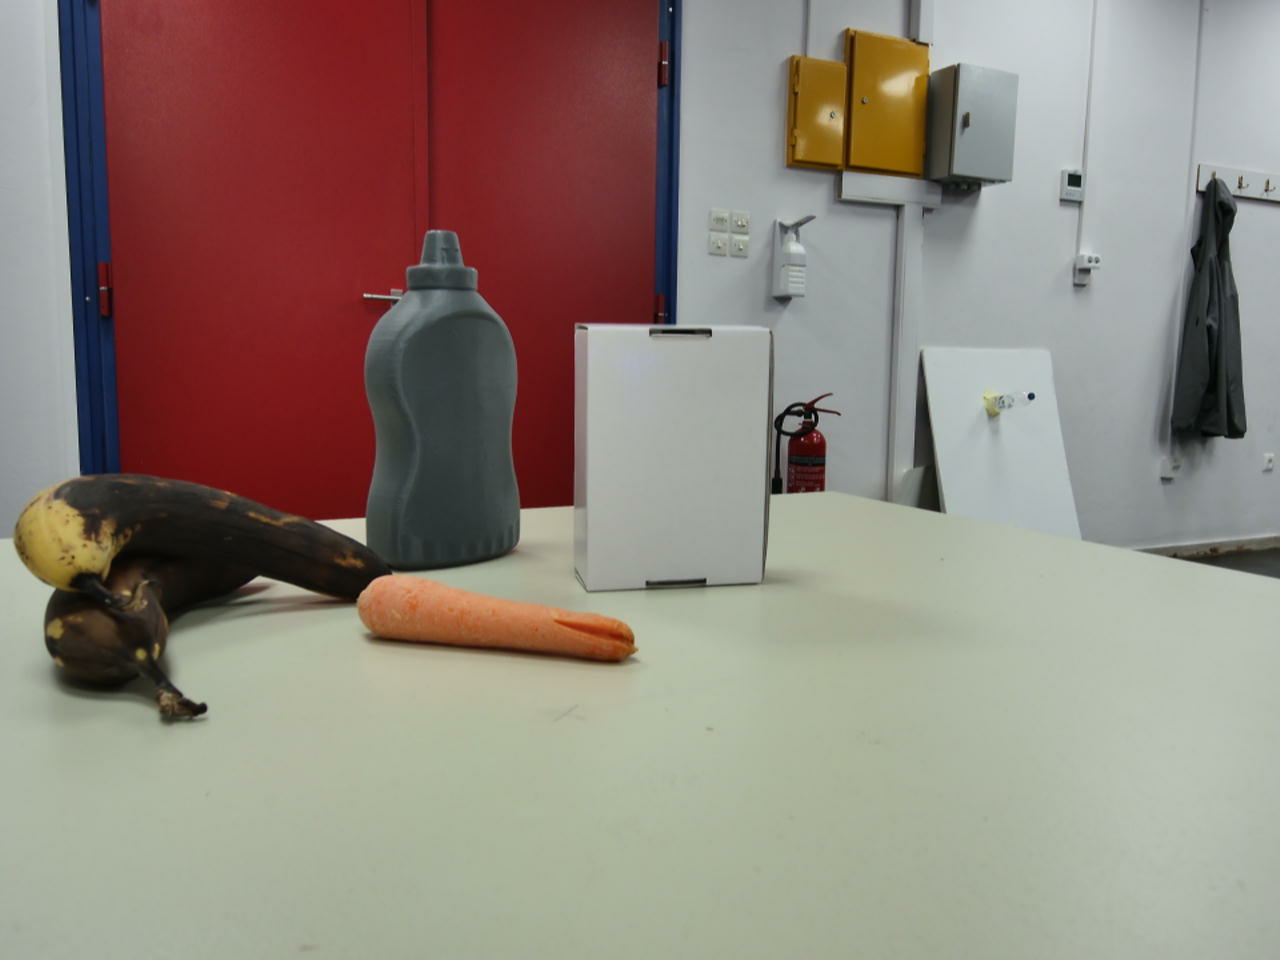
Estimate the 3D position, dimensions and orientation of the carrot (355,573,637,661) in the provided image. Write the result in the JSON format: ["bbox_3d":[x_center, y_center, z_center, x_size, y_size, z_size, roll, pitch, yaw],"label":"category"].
[{"bbox_3d":[-0.067,0.061,0.449,0.136,0.032,0.030,2,5,20],"label":"carrot"}]
